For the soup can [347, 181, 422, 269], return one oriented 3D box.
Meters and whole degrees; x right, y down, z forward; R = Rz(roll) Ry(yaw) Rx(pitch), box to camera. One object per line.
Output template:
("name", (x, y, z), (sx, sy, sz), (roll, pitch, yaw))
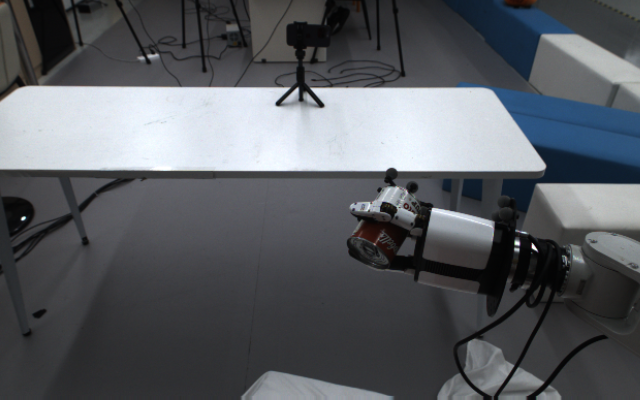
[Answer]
("soup can", (0.093, 0.036, 0.678), (0.067, 0.067, 0.101), (22, 61, 27))
